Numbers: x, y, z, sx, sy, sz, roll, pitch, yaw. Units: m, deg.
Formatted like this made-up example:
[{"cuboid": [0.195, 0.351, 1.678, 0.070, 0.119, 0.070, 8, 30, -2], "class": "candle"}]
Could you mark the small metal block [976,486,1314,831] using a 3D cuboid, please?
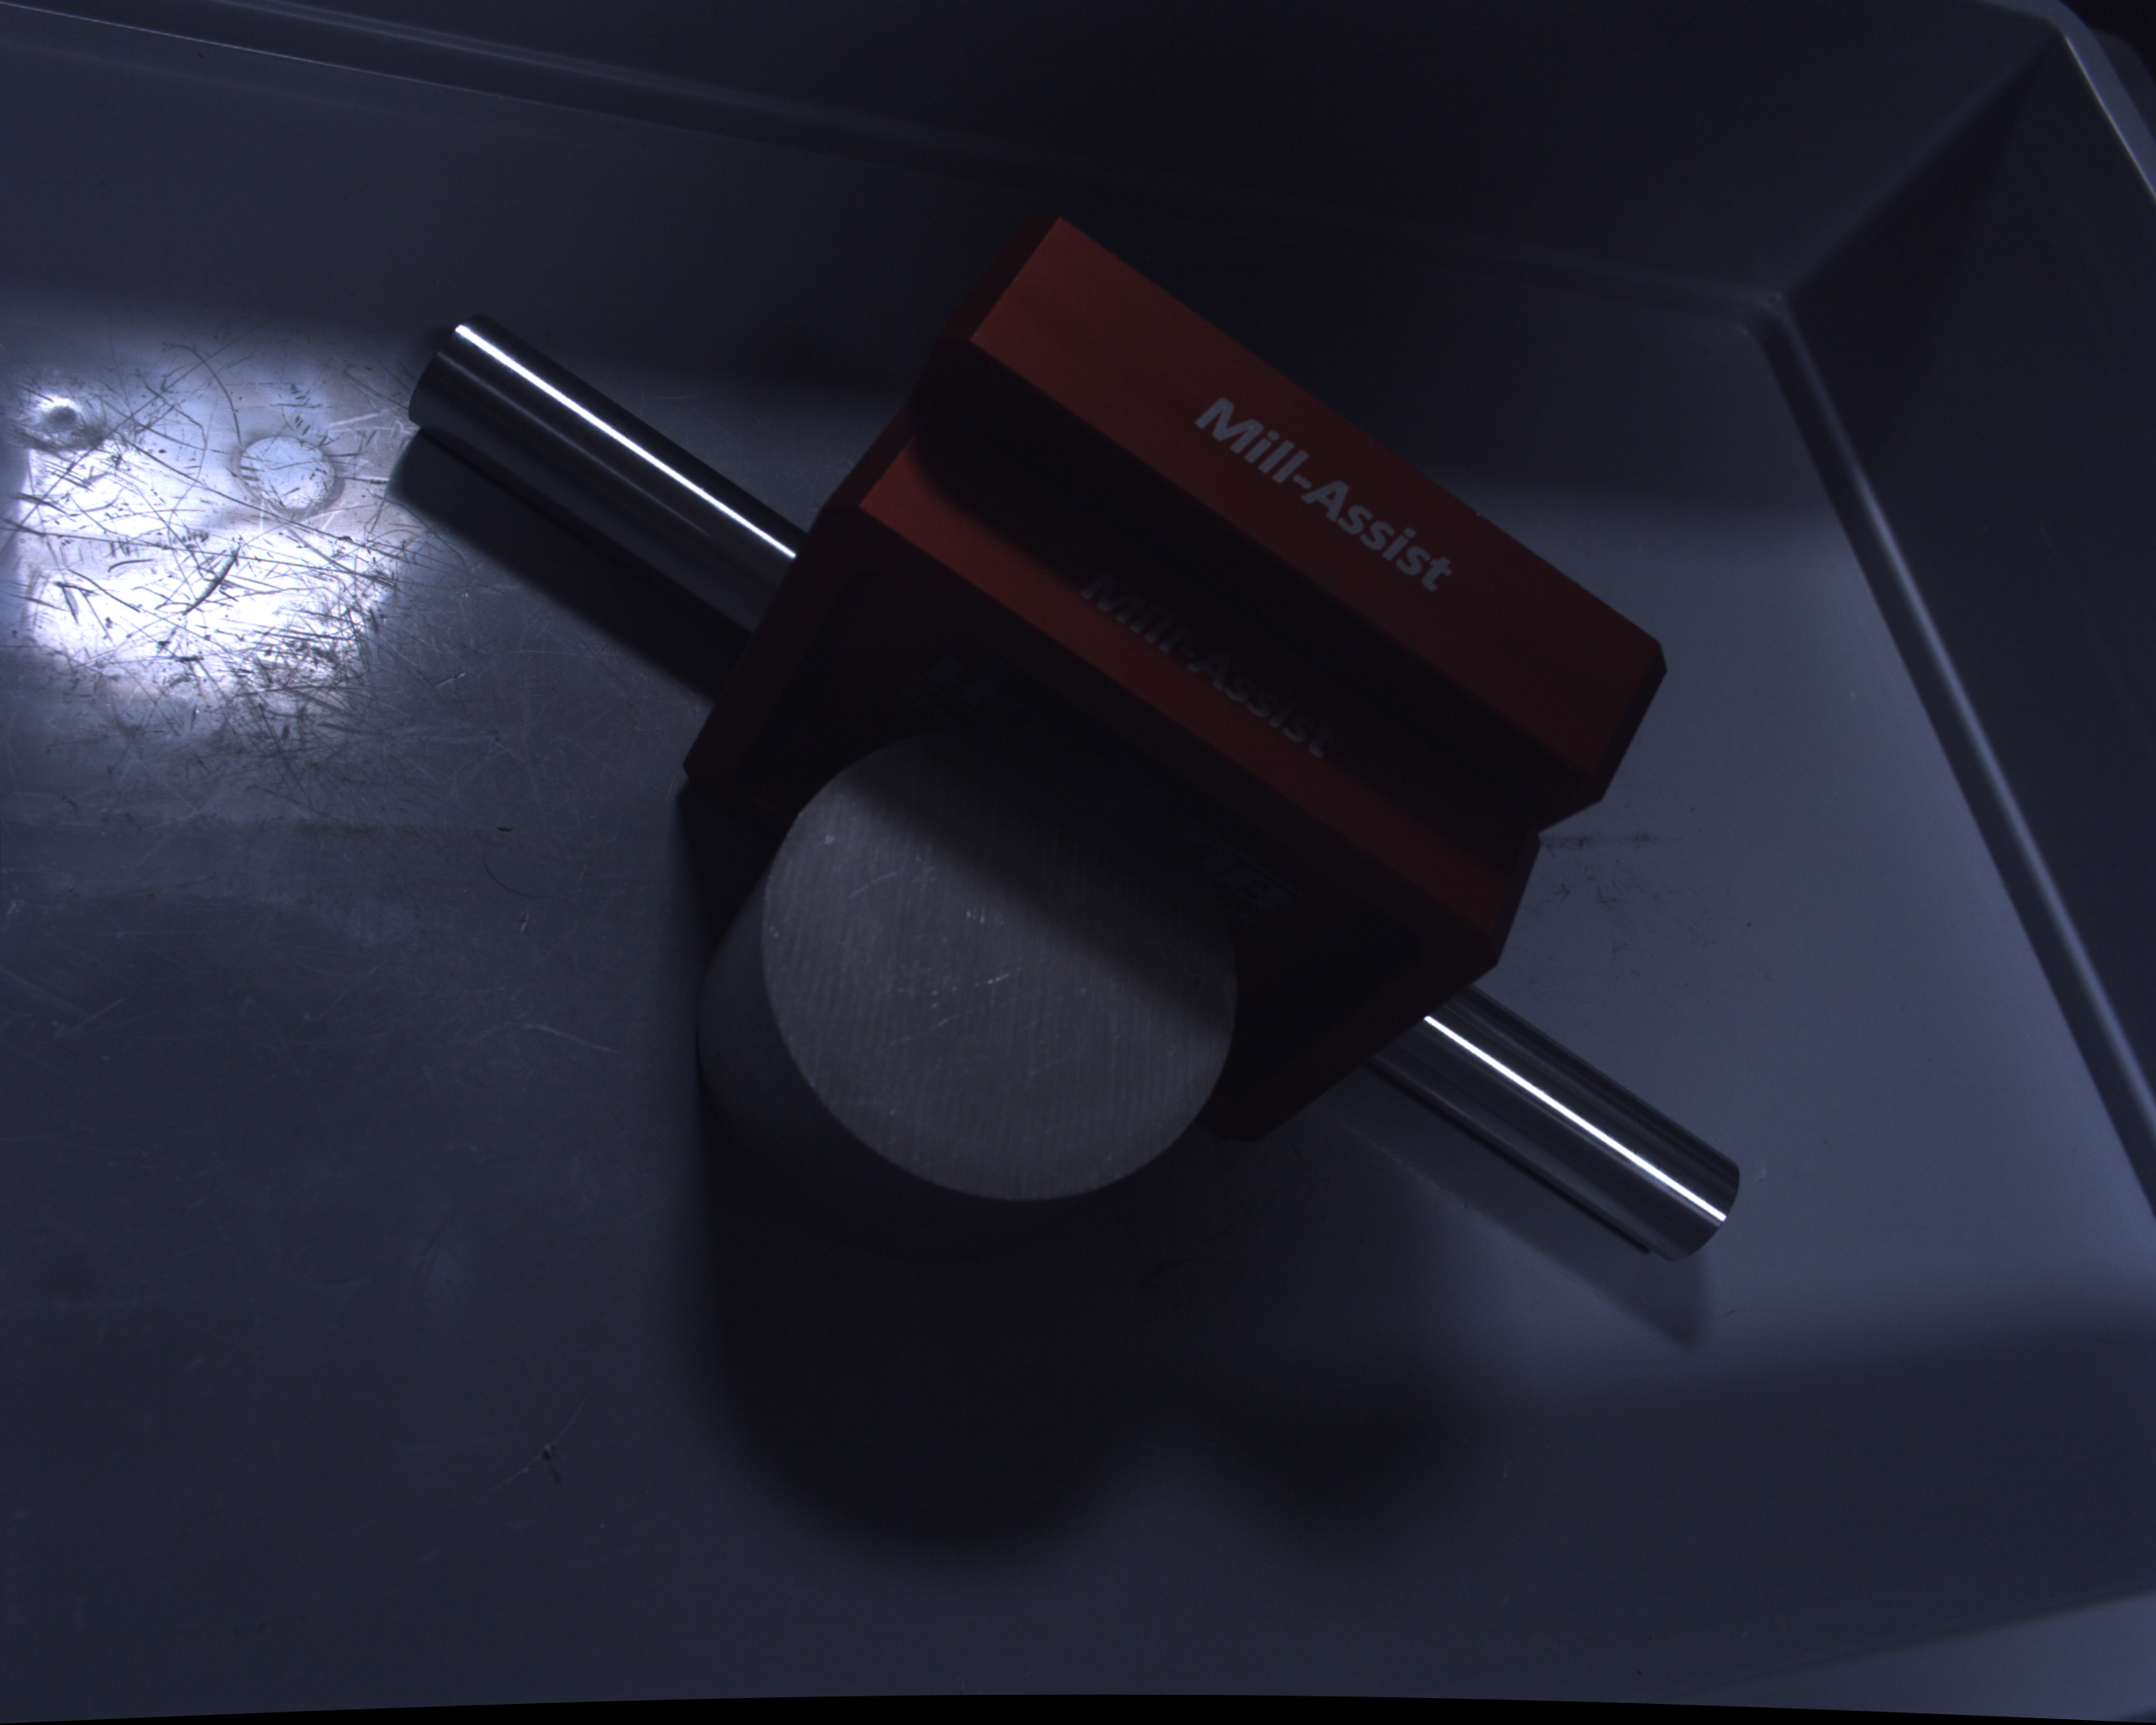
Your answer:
[{"cuboid": [0.015, -0.043, 0.440, 0.050, 0.025, 0.050, 35, 51, -5], "class": "small metal block"}]

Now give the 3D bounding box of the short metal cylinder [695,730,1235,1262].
[{"cuboid": [-0.020, 0.024, 0.356, 0.081, 0.050, 0.080, 9, 66, -19], "class": "short metal cylinder"}]

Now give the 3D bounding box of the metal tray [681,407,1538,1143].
[{"cuboid": [0.003, -0.010, 0.371, 0.130, 0.090, 0.030, 34, 51, -7], "class": "metal tray"}]

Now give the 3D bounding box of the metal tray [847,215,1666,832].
[{"cuboid": [0.026, -0.047, 0.374, 0.130, 0.090, 0.030, 34, 68, -7], "class": "metal tray"}]

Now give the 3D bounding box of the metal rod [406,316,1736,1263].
[{"cuboid": [0.003, -0.011, 0.415, 0.301, 0.025, 0.025, 34, 51, -6], "class": "metal rod"}]
